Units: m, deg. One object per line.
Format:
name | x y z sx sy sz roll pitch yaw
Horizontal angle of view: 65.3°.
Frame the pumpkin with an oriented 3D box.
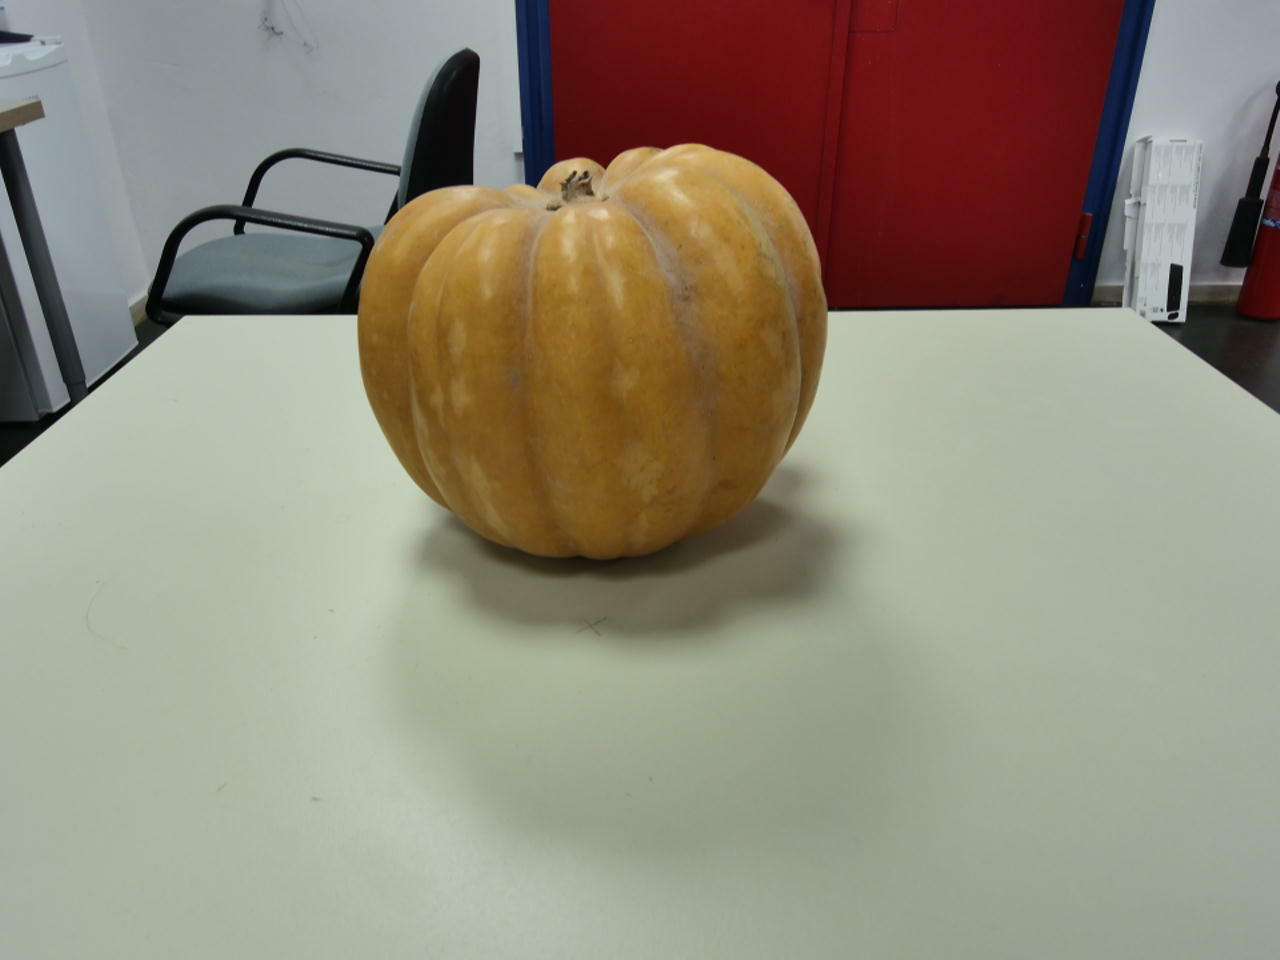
pumpkin | -0.019 -0.065 0.505 0.230 0.194 0.230 0 26 0
